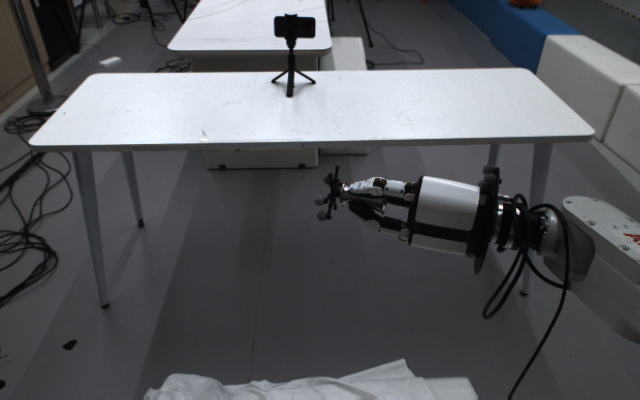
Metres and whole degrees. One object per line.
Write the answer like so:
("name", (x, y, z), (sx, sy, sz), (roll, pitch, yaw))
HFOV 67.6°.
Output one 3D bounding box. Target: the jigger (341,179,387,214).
("jigger", (0.075, -0.009, 0.757), (0.071, 0.043, 0.043), (9, 35, 15))
